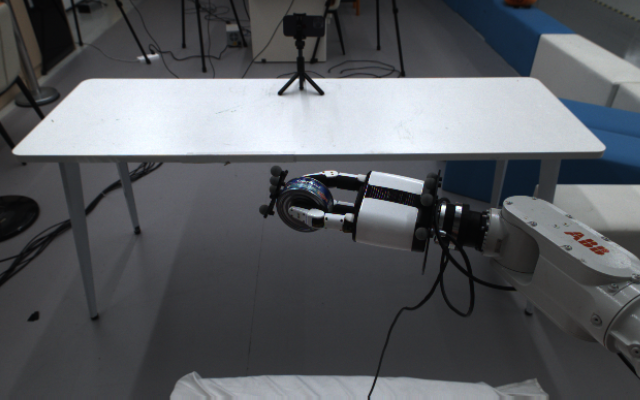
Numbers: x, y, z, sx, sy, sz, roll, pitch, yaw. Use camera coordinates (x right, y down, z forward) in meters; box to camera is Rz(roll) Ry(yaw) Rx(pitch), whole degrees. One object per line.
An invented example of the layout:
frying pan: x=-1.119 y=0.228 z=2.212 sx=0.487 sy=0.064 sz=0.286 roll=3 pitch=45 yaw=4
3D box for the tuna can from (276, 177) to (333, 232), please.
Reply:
tuna can: x=-0.022 y=0.009 z=0.750 sx=0.085 sy=0.085 sz=0.034 roll=8 pitch=35 yaw=9
